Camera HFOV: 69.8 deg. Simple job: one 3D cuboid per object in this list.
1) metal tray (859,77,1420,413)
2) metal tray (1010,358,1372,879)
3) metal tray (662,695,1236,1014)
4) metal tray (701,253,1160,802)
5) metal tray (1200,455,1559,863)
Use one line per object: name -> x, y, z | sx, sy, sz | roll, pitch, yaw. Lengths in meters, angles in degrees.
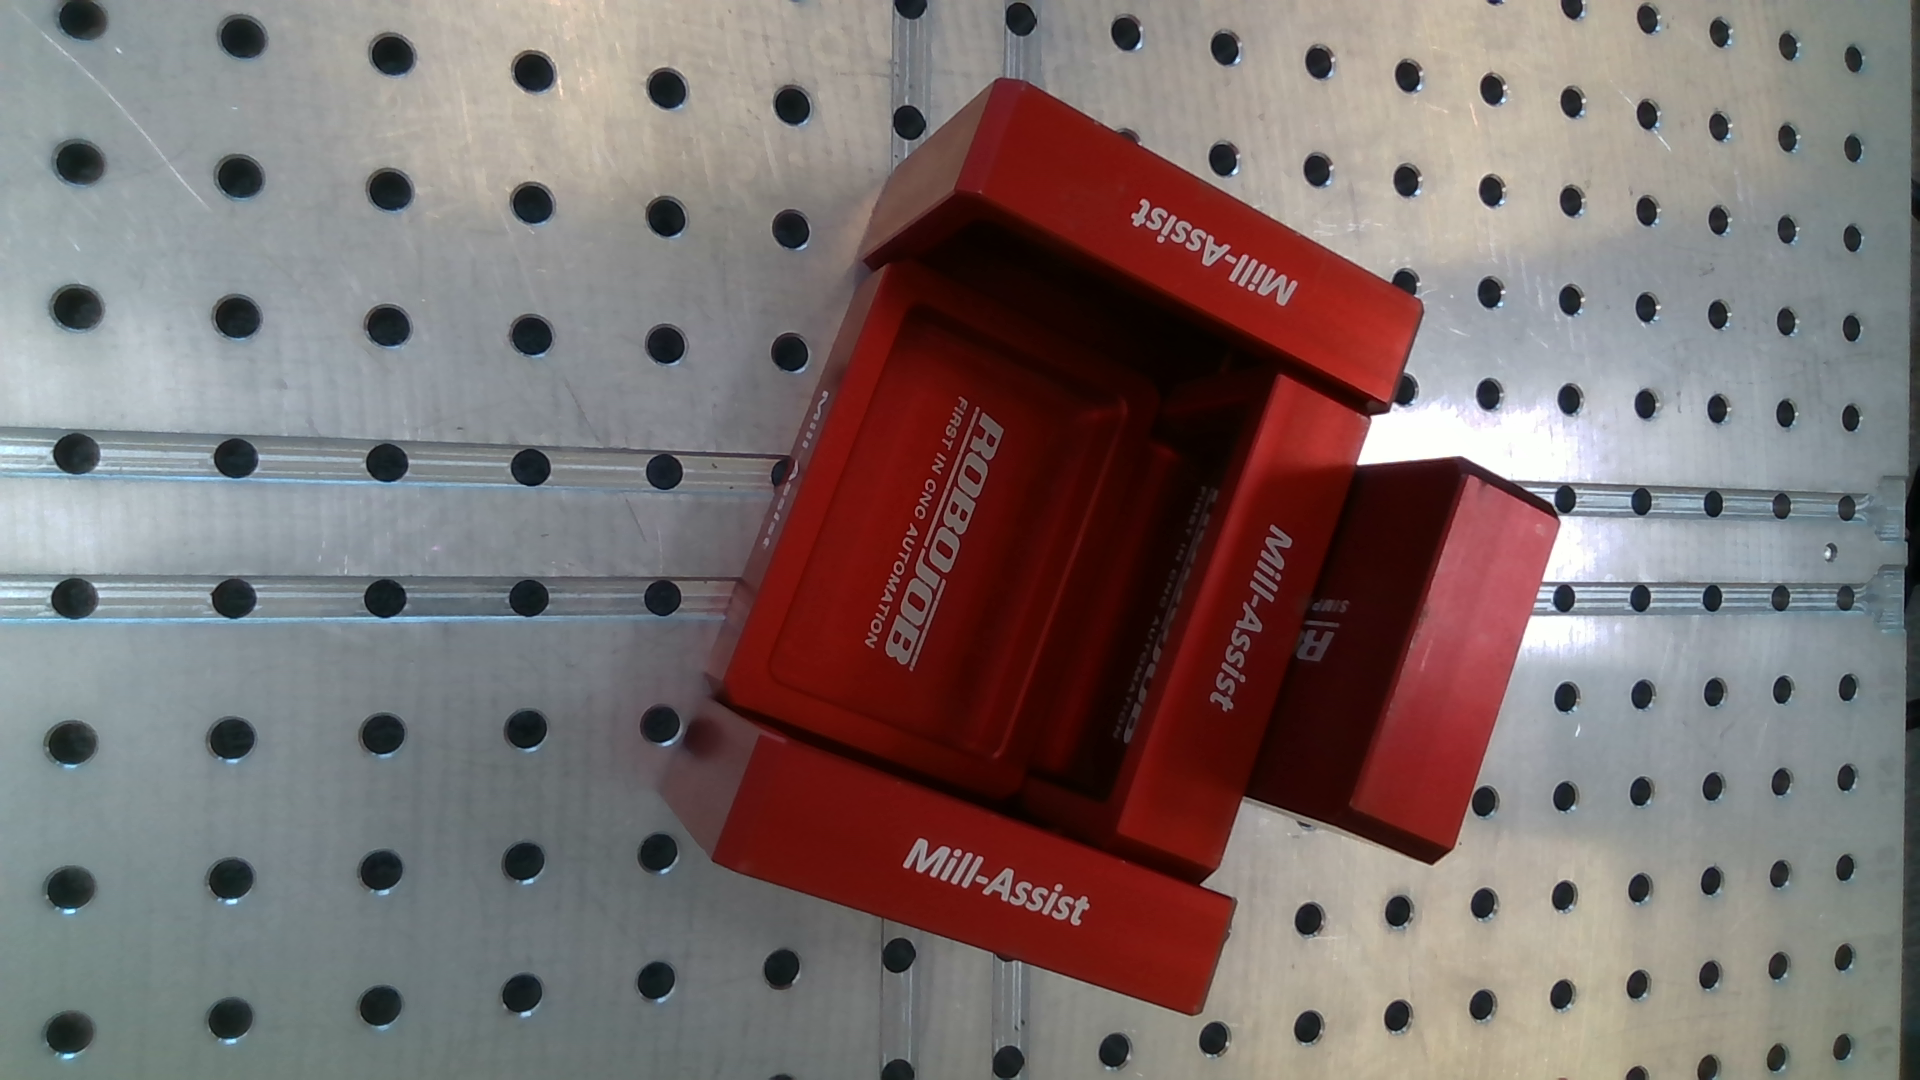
metal tray -> 0.047, -0.071, 0.378 | 0.130, 0.090, 0.030 | 23, 83, -19
metal tray -> 0.057, 0.019, 0.382 | 0.030, 0.090, 0.130 | 23, 83, -18
metal tray -> -0.006, 0.080, 0.359 | 0.130, 0.090, 0.030 | 23, 82, -19
metal tray -> -0.007, -0.002, 0.391 | 0.090, 0.030, 0.130 | 23, 83, -19
metal tray -> 0.092, 0.027, 0.373 | 0.030, 0.130, 0.090 | 24, 82, -18
